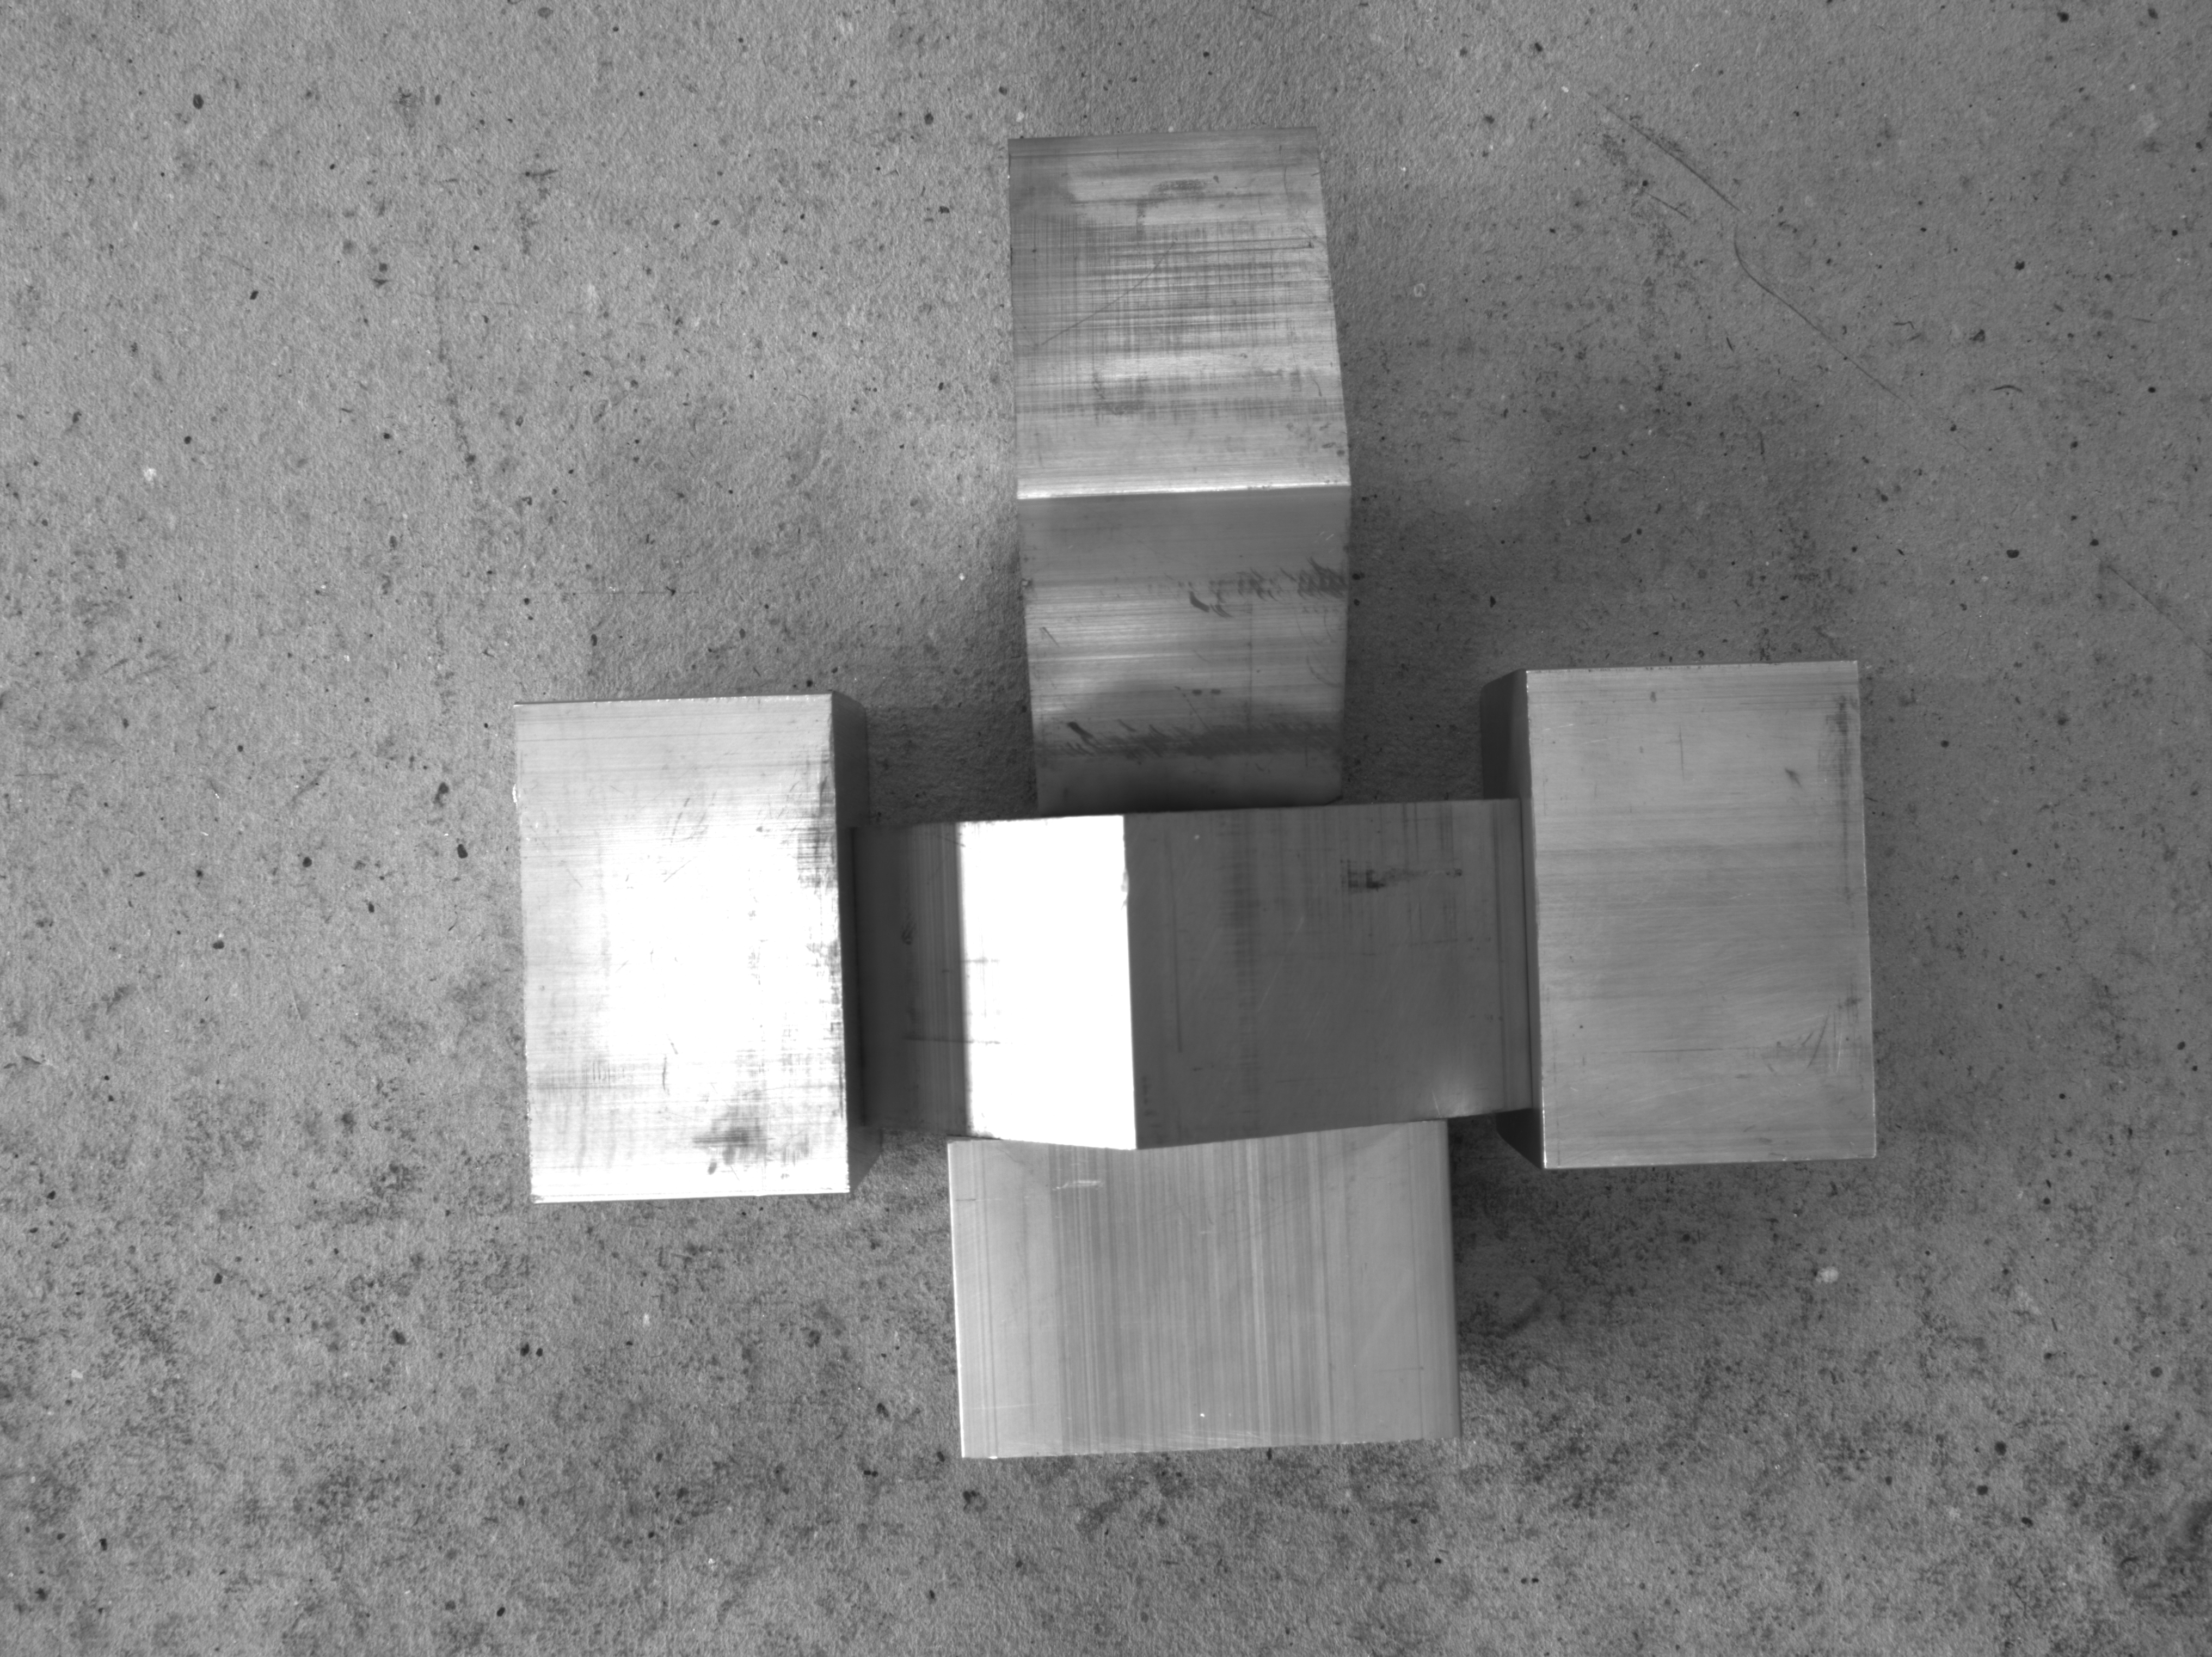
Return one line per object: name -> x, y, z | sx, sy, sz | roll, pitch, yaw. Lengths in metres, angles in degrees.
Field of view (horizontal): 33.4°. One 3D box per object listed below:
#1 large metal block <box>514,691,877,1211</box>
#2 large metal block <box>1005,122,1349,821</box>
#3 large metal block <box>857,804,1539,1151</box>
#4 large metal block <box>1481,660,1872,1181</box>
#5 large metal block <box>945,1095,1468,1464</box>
large metal block -> -0.067, 0.020, 0.618 | 0.050, 0.080, 0.080 | -2, 90, 0
large metal block -> 0.011, -0.057, 0.604 | 0.050, 0.080, 0.080 | -3, 52, 0
large metal block -> 0.014, 0.023, 0.604 | 0.080, 0.080, 0.050 | -2, 89, -35
large metal block -> 0.093, 0.015, 0.618 | 0.050, 0.080, 0.080 | -2, 89, -1
large metal block -> 0.016, 0.073, 0.619 | 0.080, 0.080, 0.050 | -3, 90, 0
